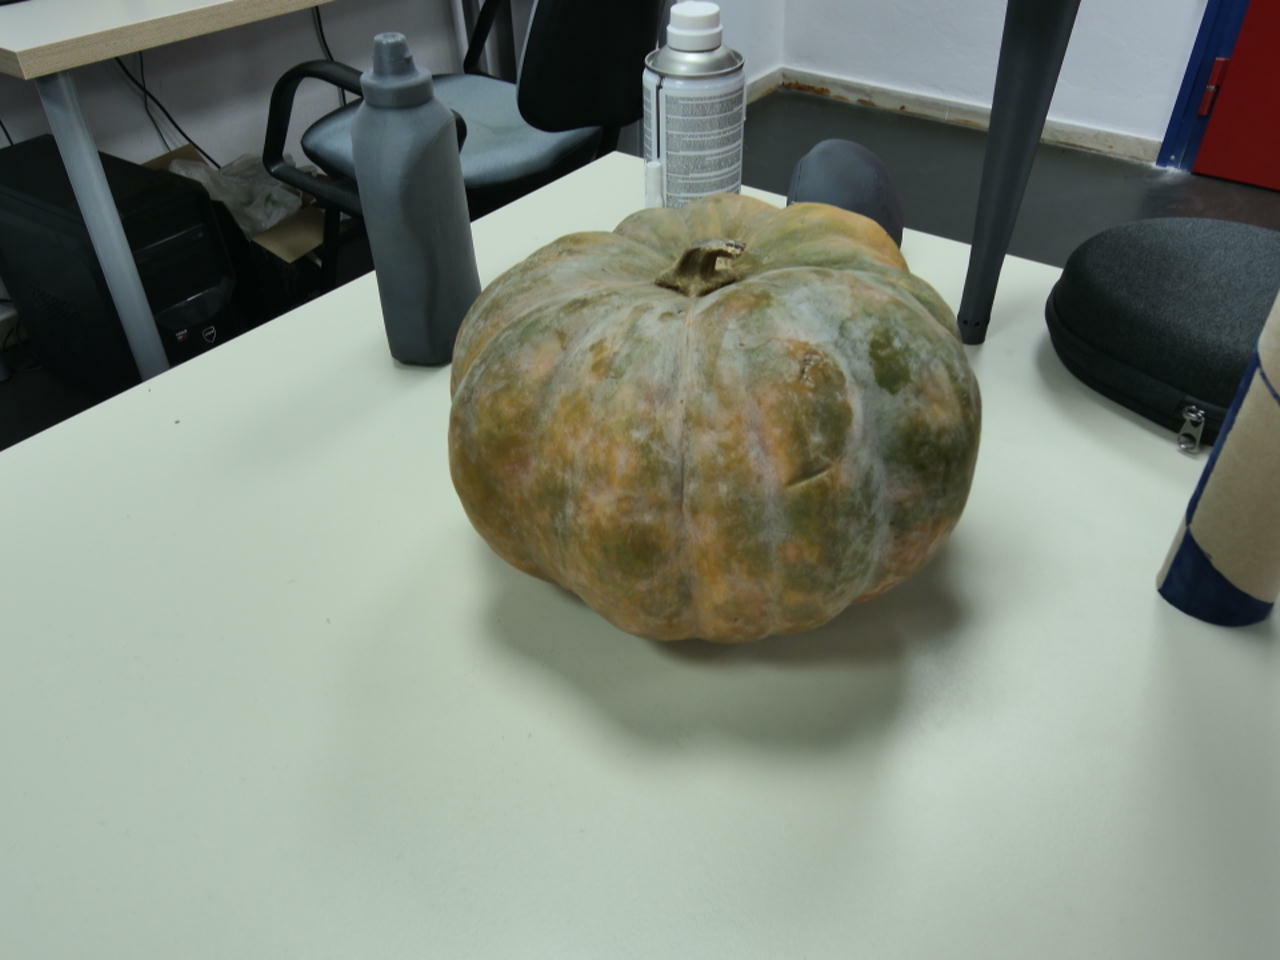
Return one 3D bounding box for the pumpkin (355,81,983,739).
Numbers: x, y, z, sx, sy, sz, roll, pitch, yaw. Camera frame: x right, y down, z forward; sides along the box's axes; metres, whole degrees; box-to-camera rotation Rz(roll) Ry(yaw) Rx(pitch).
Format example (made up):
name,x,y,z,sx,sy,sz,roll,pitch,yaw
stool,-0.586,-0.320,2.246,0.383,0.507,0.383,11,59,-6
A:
name,x,y,z,sx,sy,sz,roll,pitch,yaw
pumpkin,0.031,-0.036,0.467,0.252,0.169,0.251,0,37,0
